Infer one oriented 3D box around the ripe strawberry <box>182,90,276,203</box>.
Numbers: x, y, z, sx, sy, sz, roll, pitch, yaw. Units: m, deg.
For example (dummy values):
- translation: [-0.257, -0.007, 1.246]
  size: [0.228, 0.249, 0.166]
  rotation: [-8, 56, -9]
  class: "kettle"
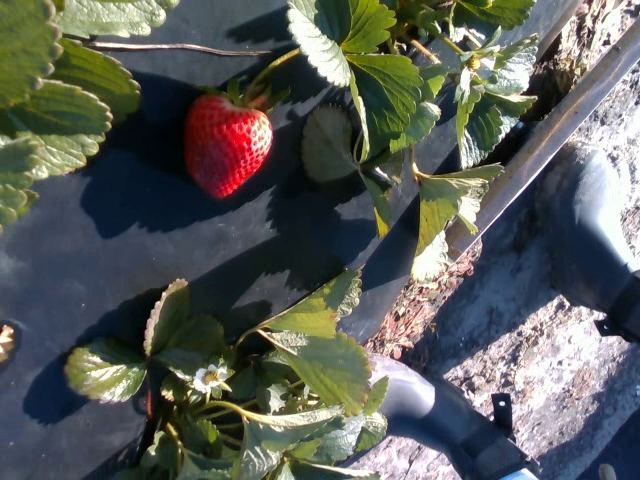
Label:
- translation: [-0.042, -0.043, 0.270]
  size: [0.045, 0.055, 0.042]
  rotation: [20, 8, 7]
  class: "ripe strawberry"
